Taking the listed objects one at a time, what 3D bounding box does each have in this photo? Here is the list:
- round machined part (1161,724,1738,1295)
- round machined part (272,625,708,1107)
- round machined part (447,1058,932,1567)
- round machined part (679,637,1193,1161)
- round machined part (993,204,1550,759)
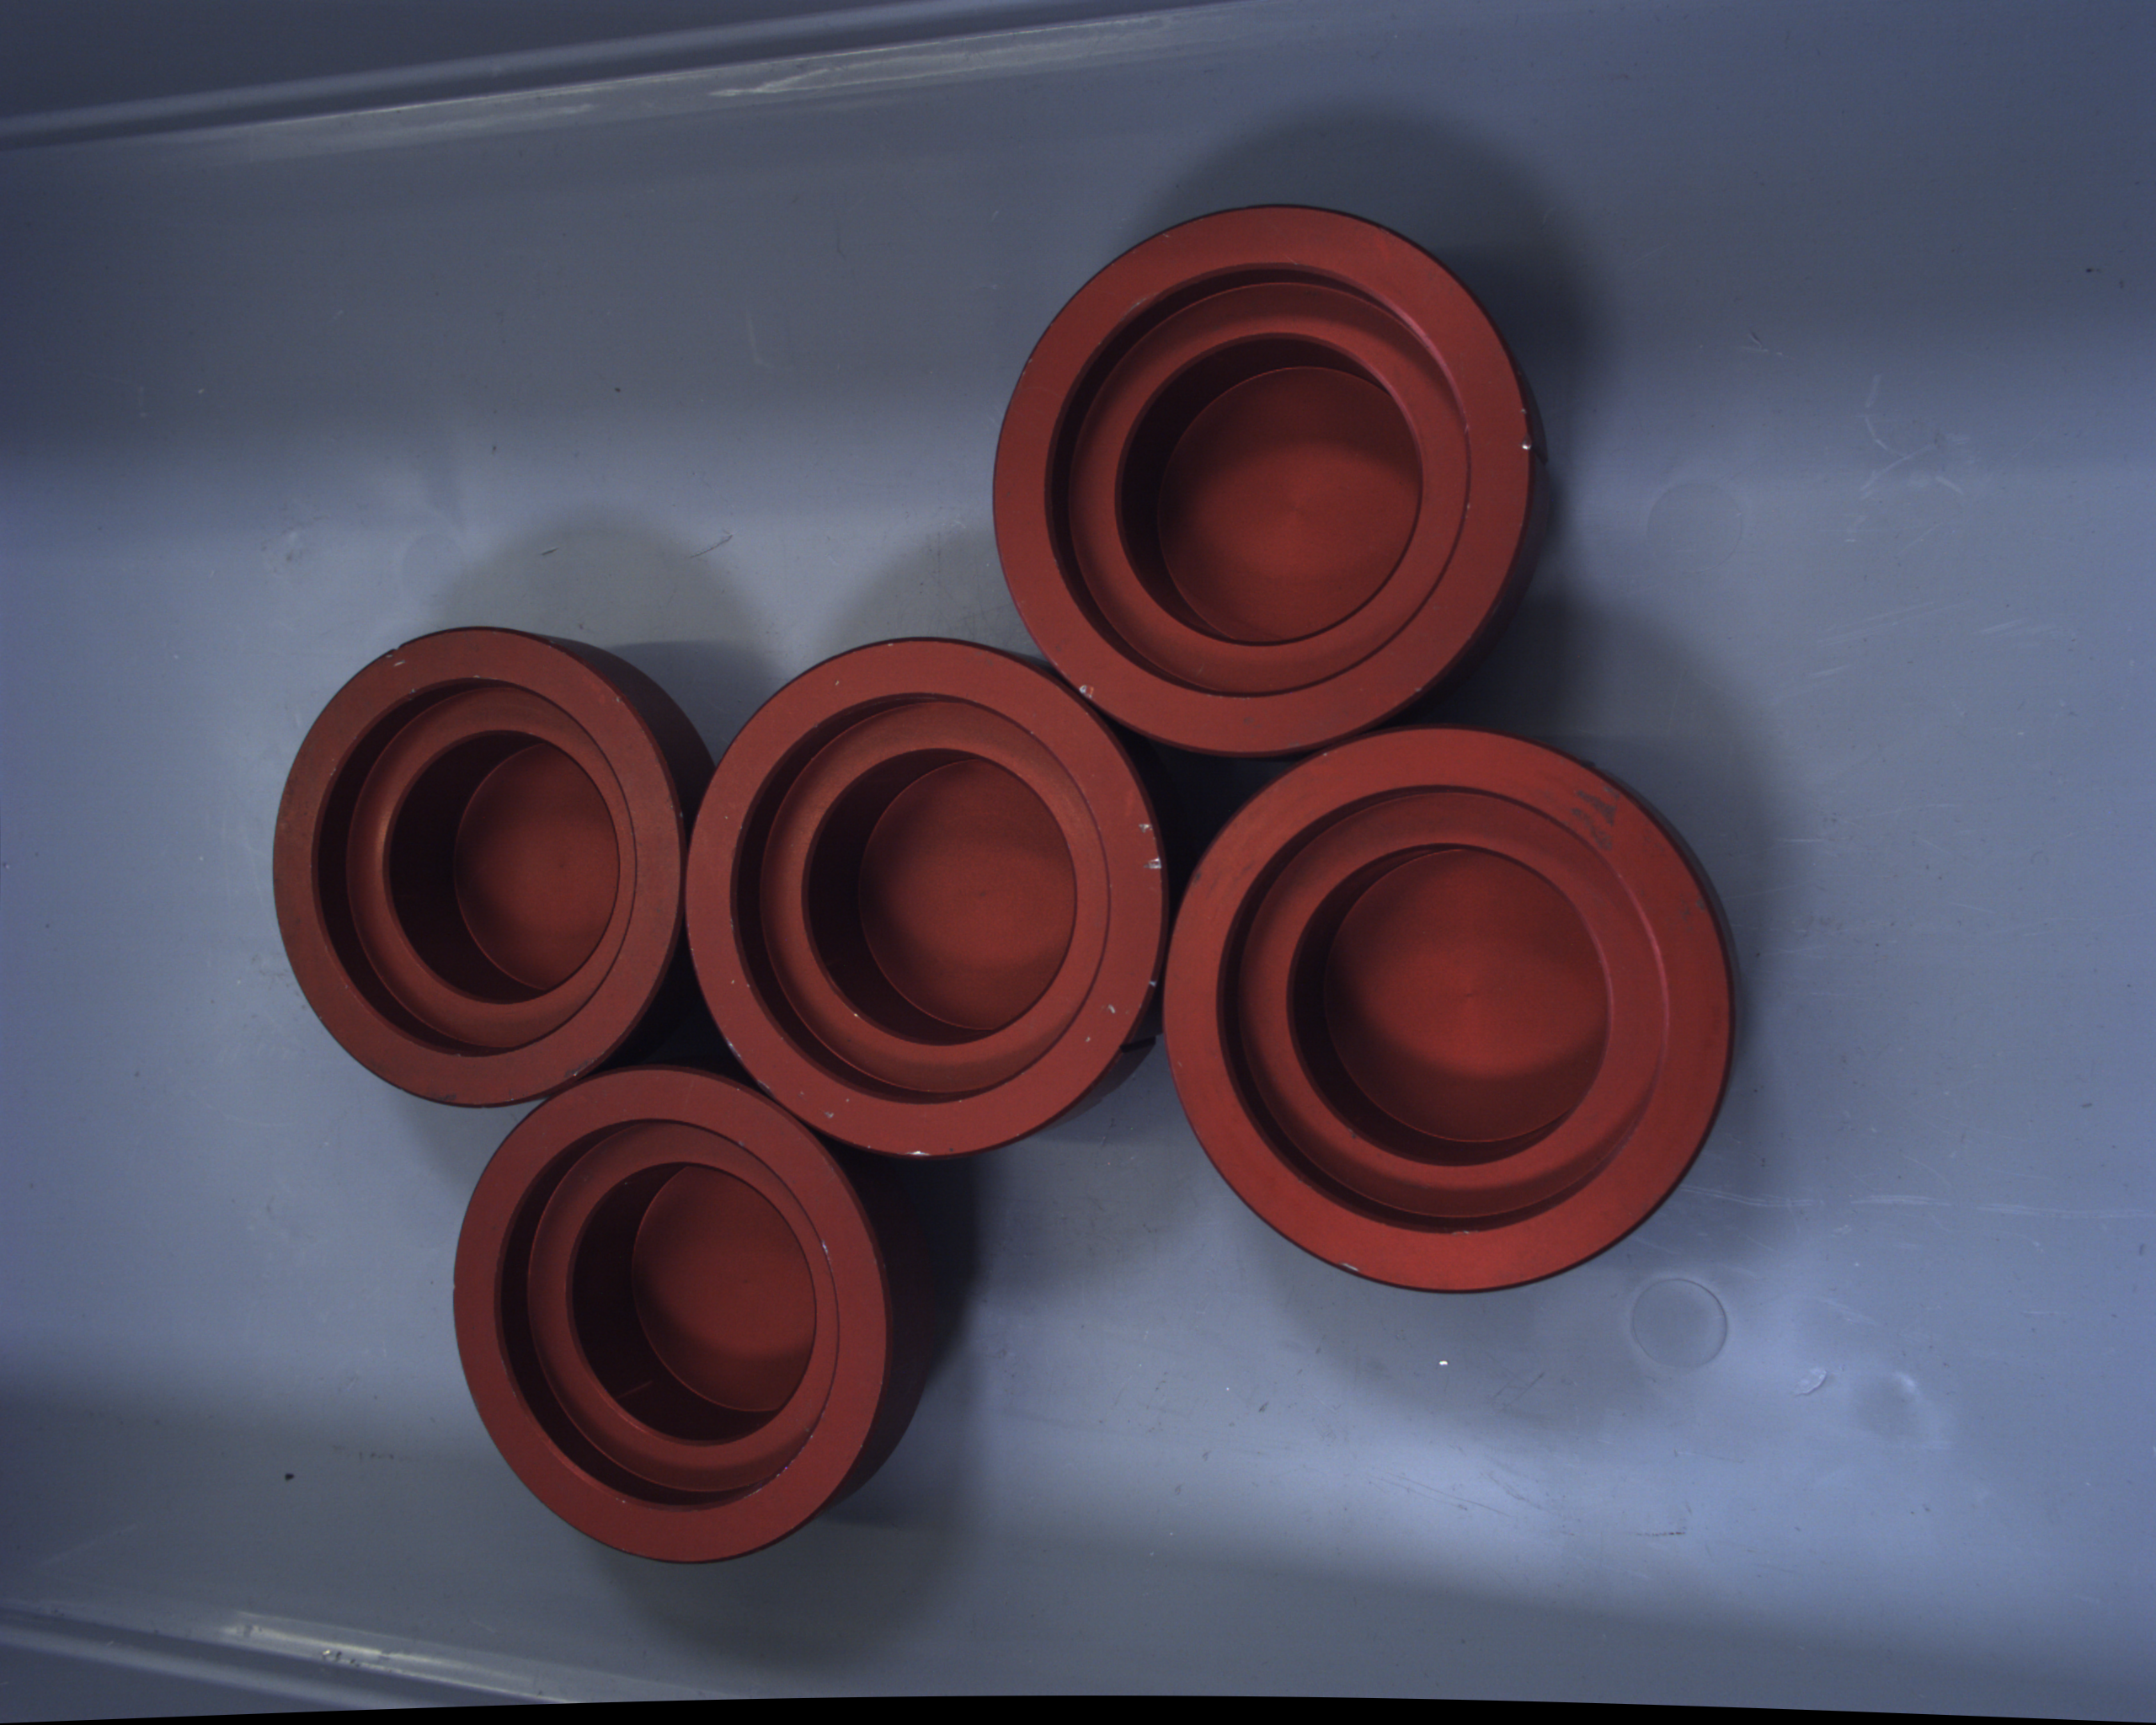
[{"bbox_3d":[0.068,0.025,0.375,0.098,0.042,0.097,0,90,20],"label":"round machined part"},{"bbox_3d":[-0.116,0.001,0.440,0.098,0.042,0.097,0,90,20],"label":"round machined part"},{"bbox_3d":[-0.074,0.088,0.424,0.098,0.042,0.097,0,90,20],"label":"round machined part"},{"bbox_3d":[-0.024,0.007,0.406,0.098,0.042,0.097,0,90,20],"label":"round machined part"},{"bbox_3d":[0.037,-0.067,0.386,0.098,0.042,0.097,0,90,20],"label":"round machined part"}]
